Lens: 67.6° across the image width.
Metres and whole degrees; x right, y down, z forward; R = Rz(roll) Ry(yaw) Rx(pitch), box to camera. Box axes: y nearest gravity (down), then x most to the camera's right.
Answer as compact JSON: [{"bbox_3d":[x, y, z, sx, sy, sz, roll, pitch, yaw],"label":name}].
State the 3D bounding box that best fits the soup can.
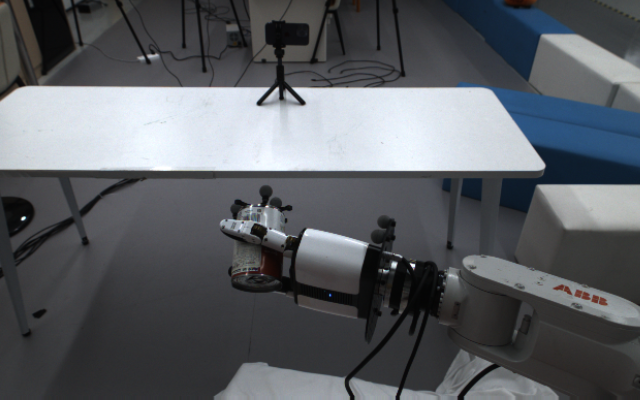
[{"bbox_3d":[-0.081,0.064,0.645,0.067,0.067,0.101,1,61,-2],"label":"soup can"}]
